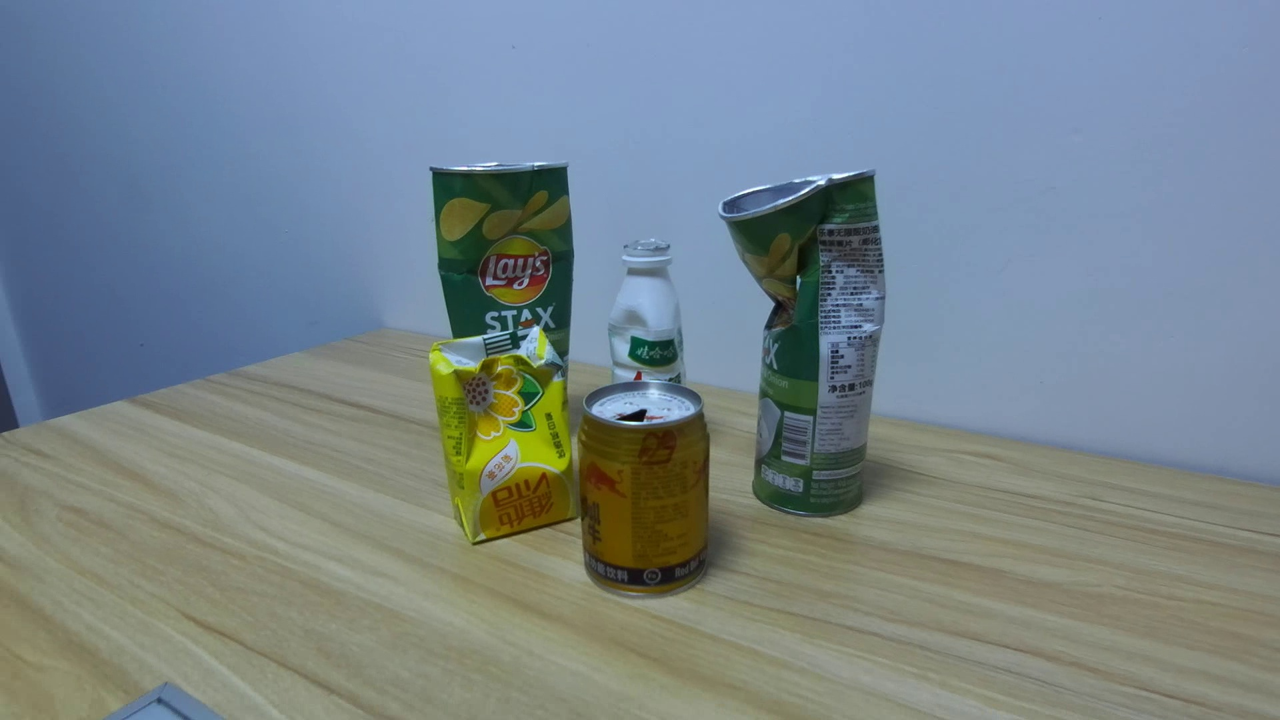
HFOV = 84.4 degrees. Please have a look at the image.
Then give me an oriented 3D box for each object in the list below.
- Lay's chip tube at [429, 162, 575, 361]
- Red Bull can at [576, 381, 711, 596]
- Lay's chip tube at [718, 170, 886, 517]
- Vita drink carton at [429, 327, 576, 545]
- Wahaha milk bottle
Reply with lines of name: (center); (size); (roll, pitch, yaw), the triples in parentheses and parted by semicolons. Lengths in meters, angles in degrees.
Lay's chip tube: (-0.092, -0.036, 0.507); (0.068, 0.199, 0.075); (8, 19, 28)
Red Bull can: (0.003, 0.063, 0.359); (0.067, 0.093, 0.067); (0, 18, 0)
Lay's chip tube: (0.094, -0.007, 0.413); (0.071, 0.199, 0.078); (-17, 21, -22)
Vita drink carton: (-0.077, 0.042, 0.407); (0.071, 0.109, 0.046); (-10, 18, -26)
Wahaha milk bottle: (0.005, -0.006, 0.485); (0.055, 0.149, 0.055); (0, 16, 0)
